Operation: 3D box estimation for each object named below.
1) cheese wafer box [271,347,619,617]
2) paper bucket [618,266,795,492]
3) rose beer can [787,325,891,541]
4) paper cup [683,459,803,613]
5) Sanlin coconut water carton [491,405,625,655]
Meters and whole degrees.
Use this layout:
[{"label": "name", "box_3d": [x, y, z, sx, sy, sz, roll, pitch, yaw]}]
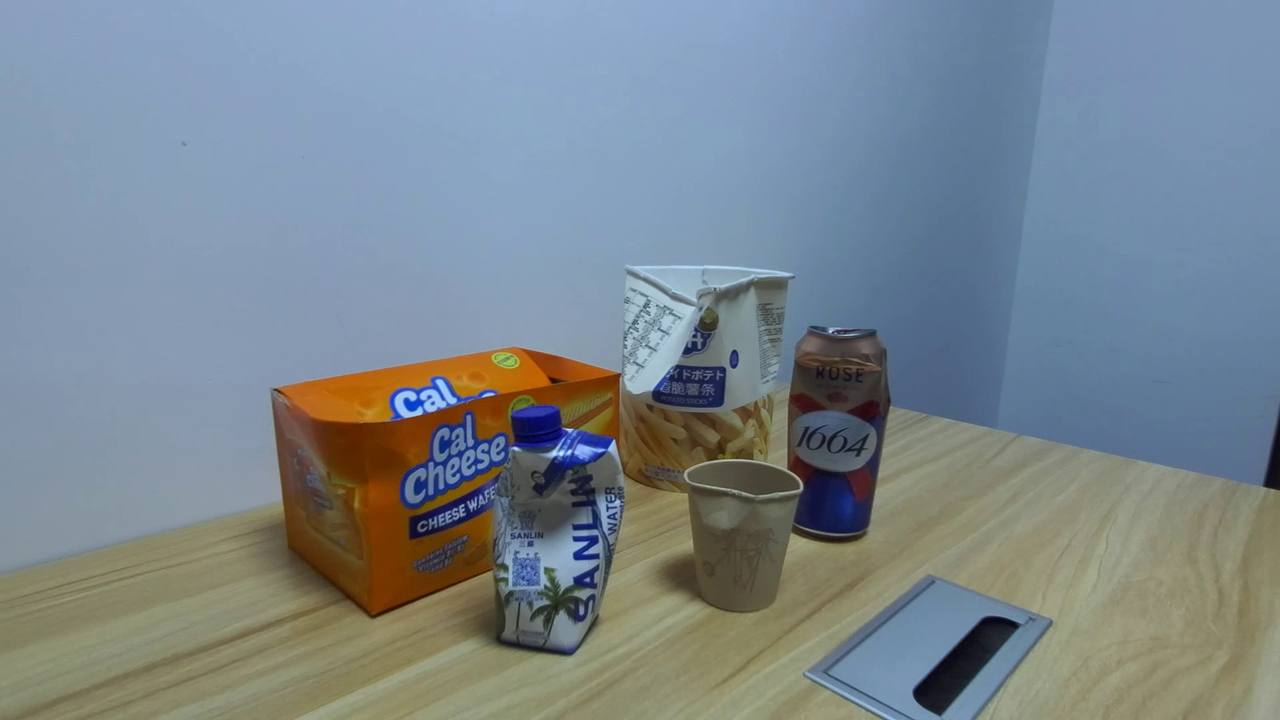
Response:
[{"label": "cheese wafer box", "box_3d": [-0.142, 0.078, 0.549, 0.151, 0.132, 0.231, 14, 16, 43]}, {"label": "paper bucket", "box_3d": [0.049, 0.010, 0.699, 0.162, 0.202, 0.170, 8, 12, 35]}, {"label": "rose beer can", "box_3d": [0.157, 0.056, 0.566, 0.075, 0.167, 0.065, 7, 13, 32]}, {"label": "paper cup", "box_3d": [0.066, 0.116, 0.472, 0.074, 0.081, 0.068, -4, 13, -27]}, {"label": "Sanlin coconut water carton", "box_3d": [-0.049, 0.100, 0.416, 0.068, 0.144, 0.057, 12, 22, 13]}]
